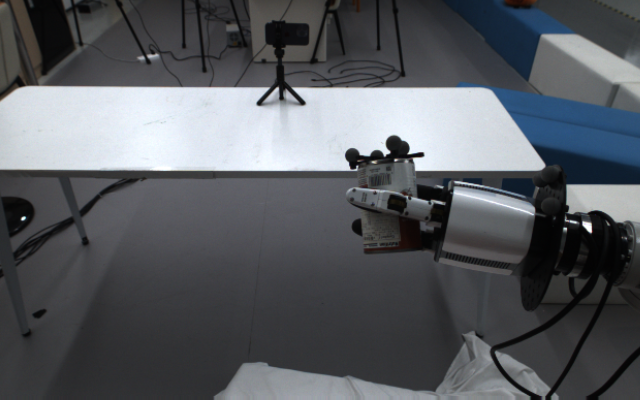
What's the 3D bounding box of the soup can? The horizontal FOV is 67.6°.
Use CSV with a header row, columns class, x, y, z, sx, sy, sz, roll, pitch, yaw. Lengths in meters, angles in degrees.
class,x,y,z,sx,sy,sz,roll,pitch,yaw
soup can,0.082,0.008,0.553,0.067,0.101,0.067,-5,-5,0
